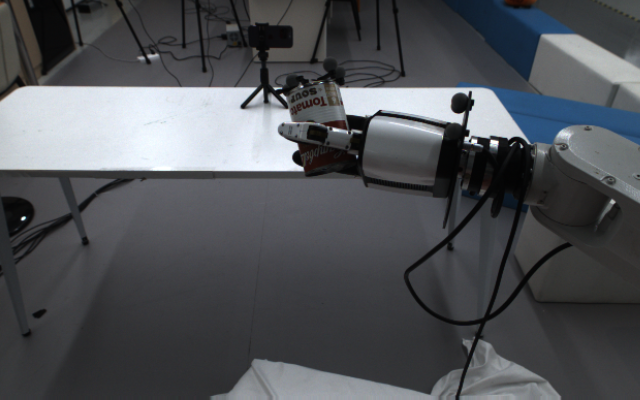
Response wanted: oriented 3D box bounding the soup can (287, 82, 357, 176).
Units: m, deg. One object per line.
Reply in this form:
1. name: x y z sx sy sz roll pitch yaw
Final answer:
1. soup can: 0.003 -0.086 0.592 0.067 0.101 0.067 -14 -2 -1
